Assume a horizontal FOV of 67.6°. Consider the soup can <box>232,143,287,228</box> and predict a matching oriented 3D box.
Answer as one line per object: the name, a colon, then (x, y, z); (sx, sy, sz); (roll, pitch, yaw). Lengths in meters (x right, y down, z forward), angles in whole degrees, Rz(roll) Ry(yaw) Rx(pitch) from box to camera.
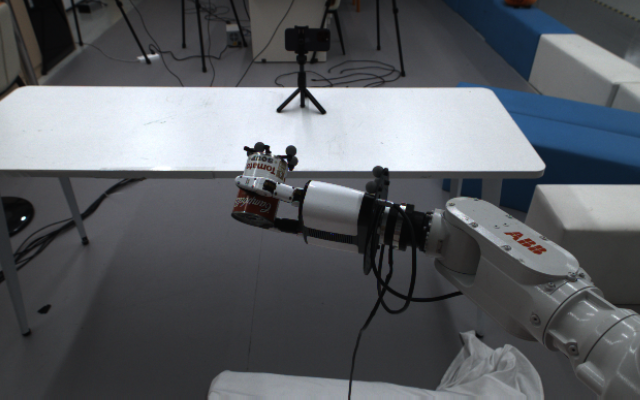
soup can: (-0.092, -0.014, 0.752); (0.067, 0.067, 0.101); (9, 72, 10)
